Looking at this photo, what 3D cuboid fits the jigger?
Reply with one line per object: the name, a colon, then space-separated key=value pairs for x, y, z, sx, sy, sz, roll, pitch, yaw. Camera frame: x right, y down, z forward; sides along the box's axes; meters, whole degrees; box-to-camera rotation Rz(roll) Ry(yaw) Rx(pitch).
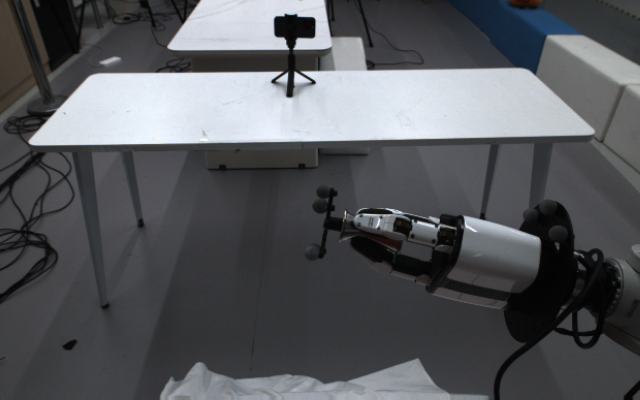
jigger: x=0.065 y=0.032 z=0.547 sx=0.071 sy=0.043 sz=0.043 roll=10 pitch=35 yaw=2
